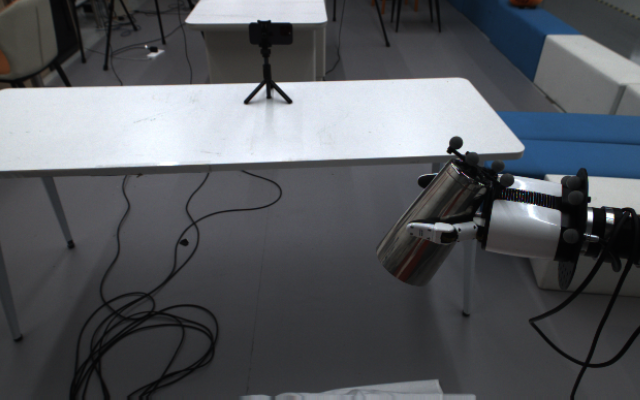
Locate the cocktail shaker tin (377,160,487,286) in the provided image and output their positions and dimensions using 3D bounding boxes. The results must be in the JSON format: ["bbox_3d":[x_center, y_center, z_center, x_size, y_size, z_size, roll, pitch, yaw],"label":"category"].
[{"bbox_3d":[0.162,0.024,0.678,0.093,0.170,0.093,25,29,-15],"label":"cocktail shaker tin"}]
